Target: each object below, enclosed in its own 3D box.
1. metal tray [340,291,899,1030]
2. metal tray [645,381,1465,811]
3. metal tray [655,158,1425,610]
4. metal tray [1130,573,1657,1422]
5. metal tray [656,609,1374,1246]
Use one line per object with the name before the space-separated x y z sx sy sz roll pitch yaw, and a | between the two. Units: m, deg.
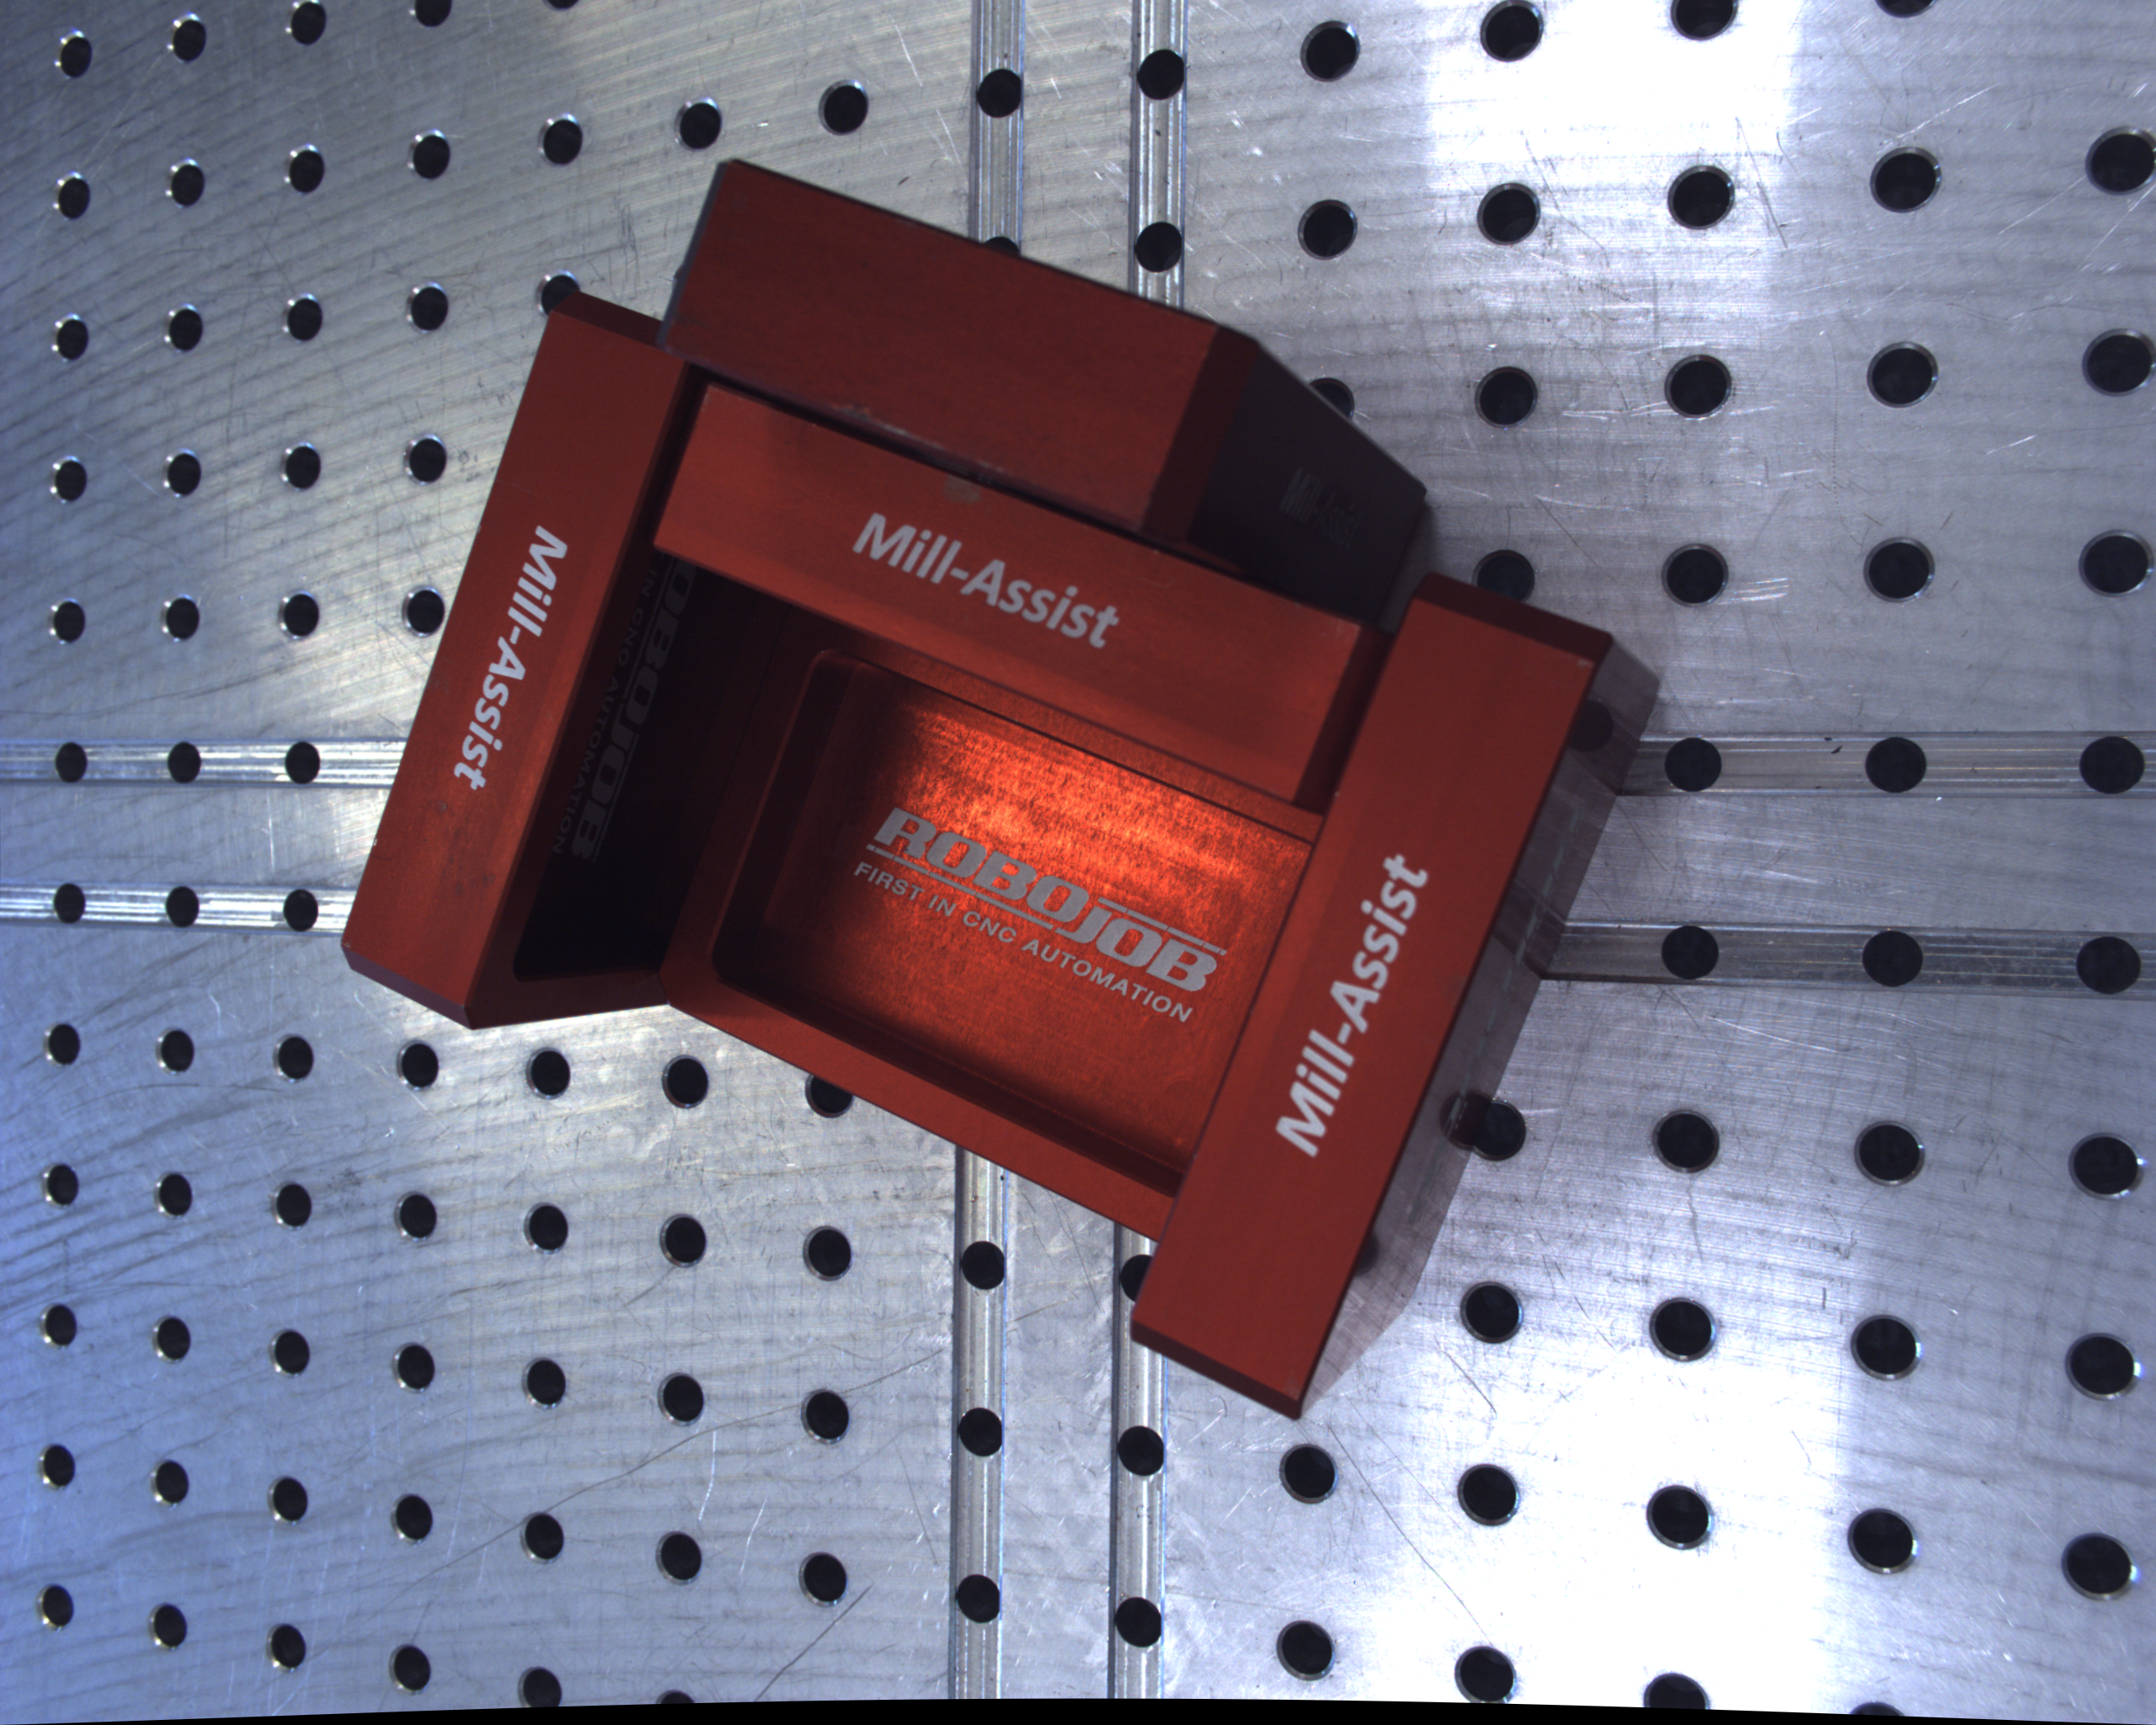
metal tray | -0.085 -0.035 0.408 0.030 0.090 0.129 23 98 18
metal tray | 0.001 -0.046 0.378 0.130 0.090 0.030 23 98 18
metal tray | 0.001 -0.075 0.356 0.090 0.130 0.030 24 99 18
metal tray | 0.057 0.021 0.357 0.030 0.090 0.129 23 98 18
metal tray | -0.010 0.011 0.413 0.130 0.030 0.090 23 98 18
